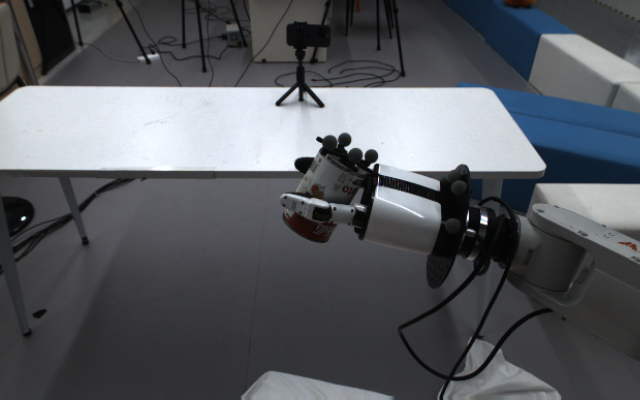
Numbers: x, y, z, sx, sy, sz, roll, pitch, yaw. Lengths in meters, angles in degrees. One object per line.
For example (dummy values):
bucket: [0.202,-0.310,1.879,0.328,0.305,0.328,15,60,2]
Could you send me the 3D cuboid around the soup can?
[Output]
soup can: [0.007,-0.006,0.602,0.067,0.101,0.067,27,18,-9]
